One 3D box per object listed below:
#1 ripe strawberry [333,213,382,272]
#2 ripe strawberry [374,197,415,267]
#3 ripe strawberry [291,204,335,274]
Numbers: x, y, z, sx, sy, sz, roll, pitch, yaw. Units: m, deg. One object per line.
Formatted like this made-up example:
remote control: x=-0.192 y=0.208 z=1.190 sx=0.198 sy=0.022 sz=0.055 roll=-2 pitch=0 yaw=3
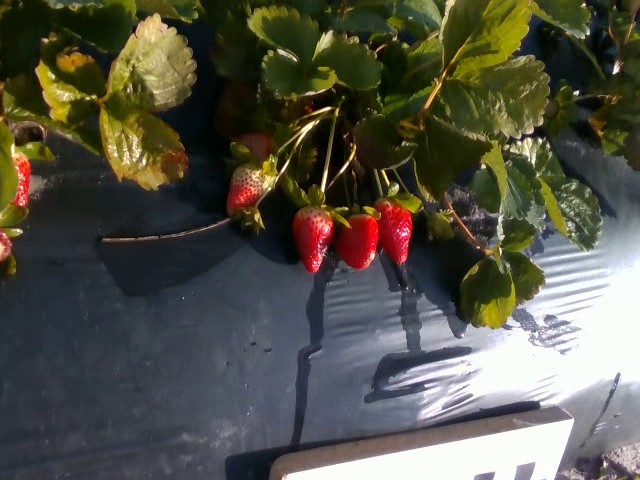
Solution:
ripe strawberry: x=0.026 y=0.002 z=0.401 sx=0.030 sy=0.039 sz=0.036 roll=11 pitch=-49 yaw=-27
ripe strawberry: x=0.050 y=0.000 z=0.416 sx=0.035 sy=0.041 sz=0.034 roll=-5 pitch=-29 yaw=-23
ripe strawberry: x=-0.003 y=0.001 z=0.395 sx=0.031 sy=0.045 sz=0.023 roll=-1 pitch=5 yaw=-24
